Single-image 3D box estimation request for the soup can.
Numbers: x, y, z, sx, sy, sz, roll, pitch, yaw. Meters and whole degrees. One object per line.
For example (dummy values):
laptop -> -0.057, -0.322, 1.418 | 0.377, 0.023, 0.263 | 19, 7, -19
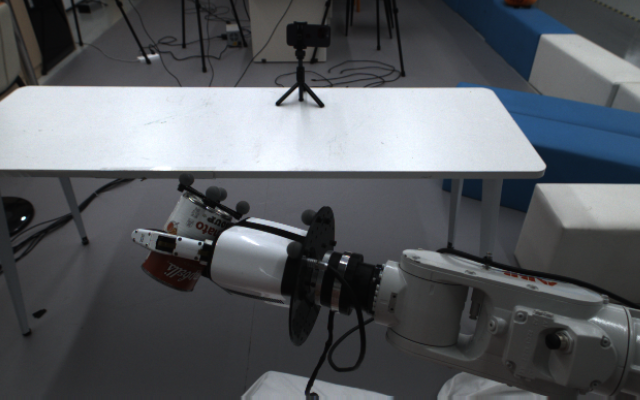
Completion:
soup can -> -0.157, 0.051, 0.579 | 0.067, 0.101, 0.067 | 29, -2, 1
